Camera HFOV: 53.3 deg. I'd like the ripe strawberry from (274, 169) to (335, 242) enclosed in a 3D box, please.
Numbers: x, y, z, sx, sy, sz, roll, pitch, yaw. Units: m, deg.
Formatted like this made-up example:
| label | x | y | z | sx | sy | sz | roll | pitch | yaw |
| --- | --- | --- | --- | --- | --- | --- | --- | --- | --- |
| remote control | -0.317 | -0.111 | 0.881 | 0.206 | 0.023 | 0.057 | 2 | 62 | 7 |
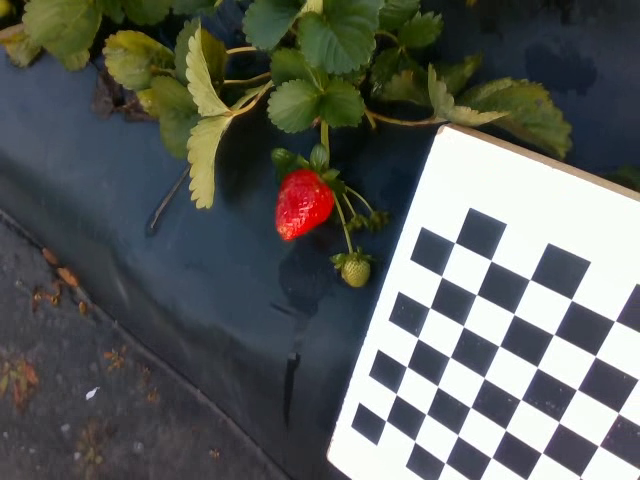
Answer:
| label | x | y | z | sx | sy | sz | roll | pitch | yaw |
| --- | --- | --- | --- | --- | --- | --- | --- | --- | --- |
| ripe strawberry | -0.015 | -0.021 | 0.461 | 0.043 | 0.052 | 0.057 | 2 | 43 | 41 |
